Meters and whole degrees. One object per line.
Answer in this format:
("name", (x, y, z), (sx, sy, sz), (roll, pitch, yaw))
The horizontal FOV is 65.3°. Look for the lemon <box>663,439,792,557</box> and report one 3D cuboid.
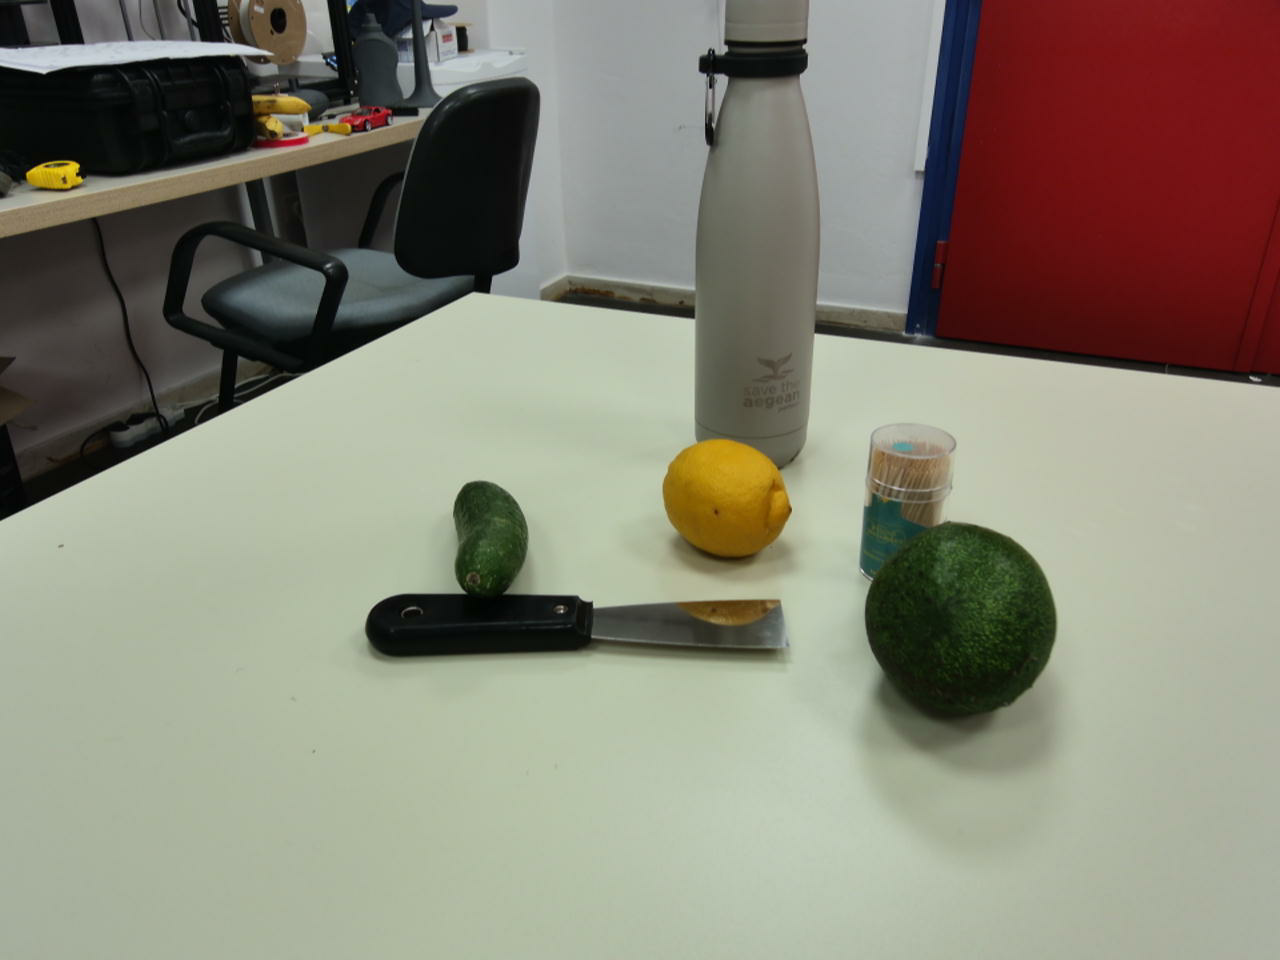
("lemon", (0.044, 0.010, 0.522), (0.061, 0.059, 0.067), (-10, 27, -21))
